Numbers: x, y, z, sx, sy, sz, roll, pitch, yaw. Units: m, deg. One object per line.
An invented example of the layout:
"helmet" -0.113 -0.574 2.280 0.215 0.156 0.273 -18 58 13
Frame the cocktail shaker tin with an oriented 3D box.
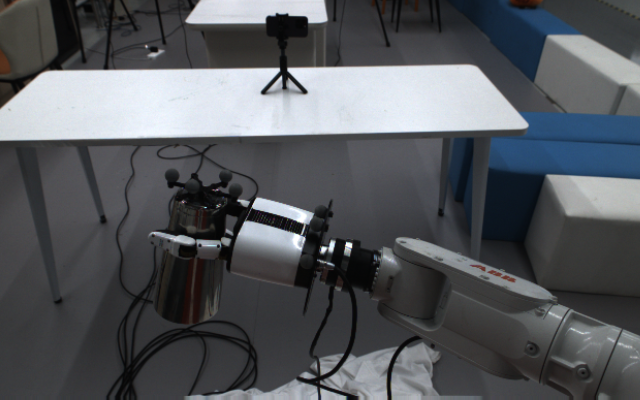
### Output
"cocktail shaker tin" -0.165 0.067 0.648 0.093 0.170 0.093 12 25 -6
